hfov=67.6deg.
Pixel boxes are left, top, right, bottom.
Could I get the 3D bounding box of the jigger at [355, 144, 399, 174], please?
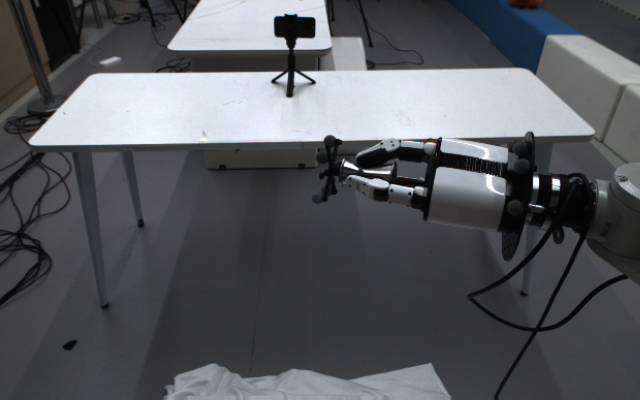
[{"bbox_3d":[0.069,-0.036,0.634,0.071,0.043,0.043,9,35,17],"label":"jigger"}]
